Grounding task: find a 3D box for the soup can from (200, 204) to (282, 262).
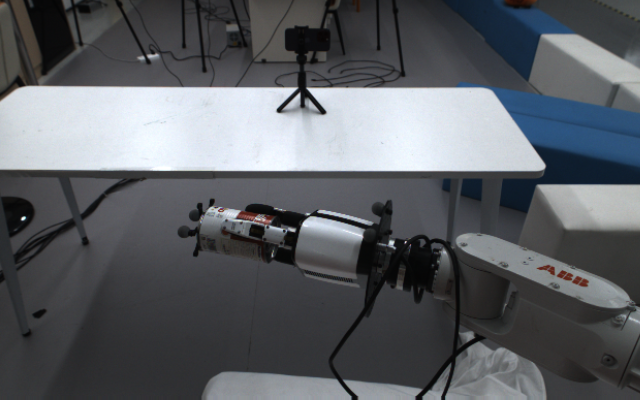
[{"bbox_3d":[-0.112,0.049,0.688,0.101,0.067,0.067,9,35,11],"label":"soup can"}]
